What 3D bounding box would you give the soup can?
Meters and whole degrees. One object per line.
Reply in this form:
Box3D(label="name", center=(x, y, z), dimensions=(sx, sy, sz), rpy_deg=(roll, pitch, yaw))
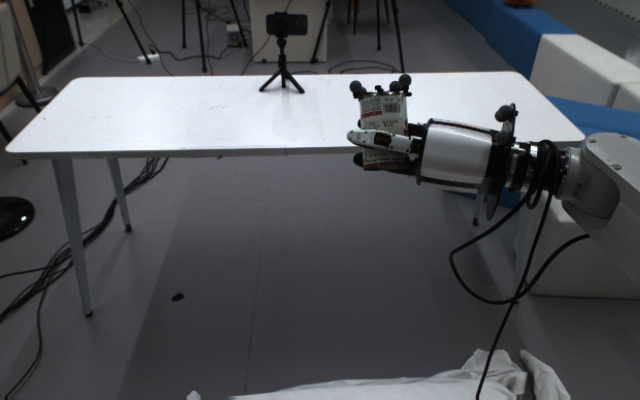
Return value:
Box3D(label="soup can", center=(0.092, -0.095, 0.683), dimensions=(0.067, 0.101, 0.067), rpy_deg=(-3, -1, 0))
